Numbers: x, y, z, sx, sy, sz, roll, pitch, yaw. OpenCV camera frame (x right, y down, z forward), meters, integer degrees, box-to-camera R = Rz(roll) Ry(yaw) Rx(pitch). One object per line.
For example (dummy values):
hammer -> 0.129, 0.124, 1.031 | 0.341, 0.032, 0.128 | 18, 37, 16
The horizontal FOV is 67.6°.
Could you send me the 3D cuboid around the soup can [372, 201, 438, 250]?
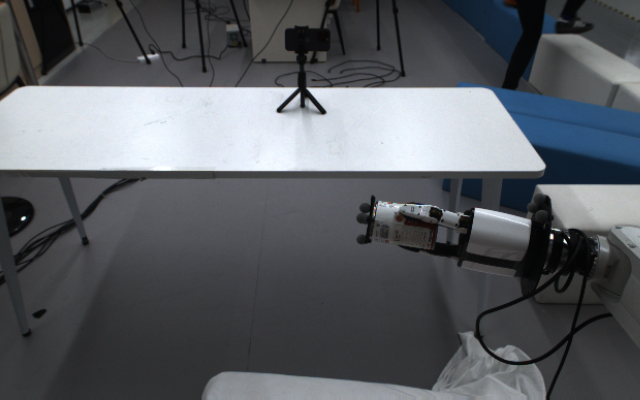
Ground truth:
soup can -> 0.138, 0.040, 0.778 | 0.101, 0.067, 0.067 | 8, 35, 9
